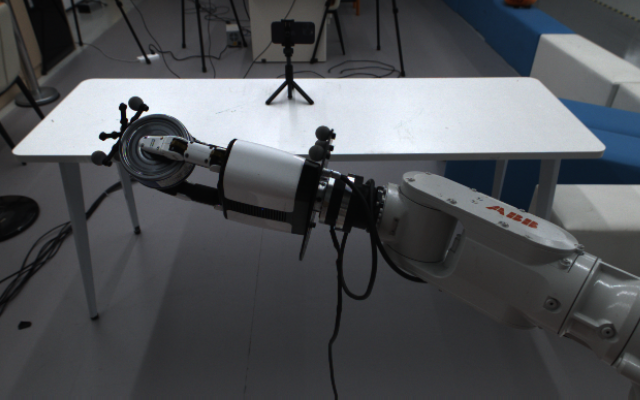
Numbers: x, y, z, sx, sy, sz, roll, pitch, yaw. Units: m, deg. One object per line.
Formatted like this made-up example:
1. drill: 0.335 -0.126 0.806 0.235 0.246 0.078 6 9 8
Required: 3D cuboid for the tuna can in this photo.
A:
1. tuna can: -0.191 -0.059 0.578 0.085 0.034 0.085 0 75 -1
